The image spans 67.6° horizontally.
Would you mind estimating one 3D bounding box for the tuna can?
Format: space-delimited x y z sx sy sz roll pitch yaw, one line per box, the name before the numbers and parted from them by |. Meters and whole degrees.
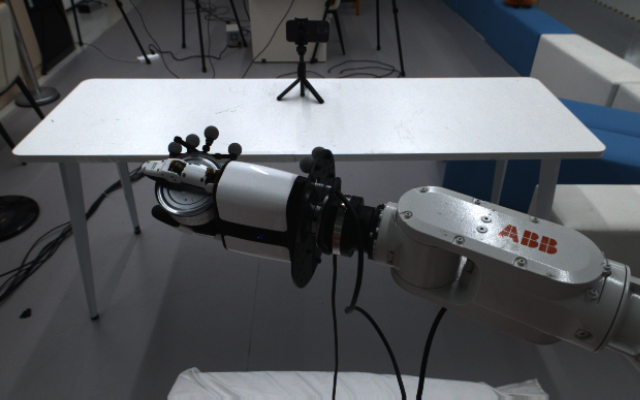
tuna can | -0.152 -0.012 0.586 0.085 0.034 0.085 -3 61 6
